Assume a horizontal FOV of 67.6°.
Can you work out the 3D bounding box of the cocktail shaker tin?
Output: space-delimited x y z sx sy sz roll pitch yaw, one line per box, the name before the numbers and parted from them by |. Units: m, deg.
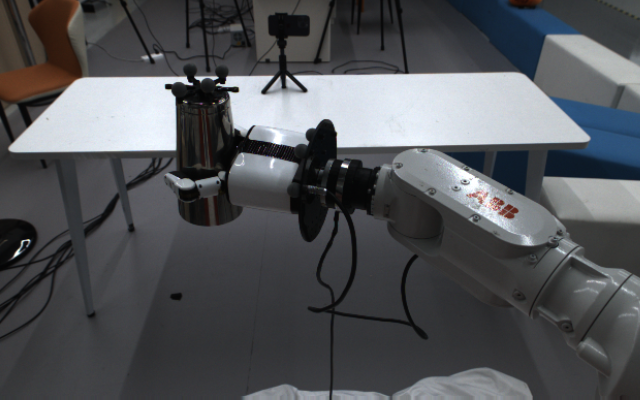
cocktail shaker tin | -0.149 -0.061 0.645 0.093 0.170 0.093 3 34 -2
